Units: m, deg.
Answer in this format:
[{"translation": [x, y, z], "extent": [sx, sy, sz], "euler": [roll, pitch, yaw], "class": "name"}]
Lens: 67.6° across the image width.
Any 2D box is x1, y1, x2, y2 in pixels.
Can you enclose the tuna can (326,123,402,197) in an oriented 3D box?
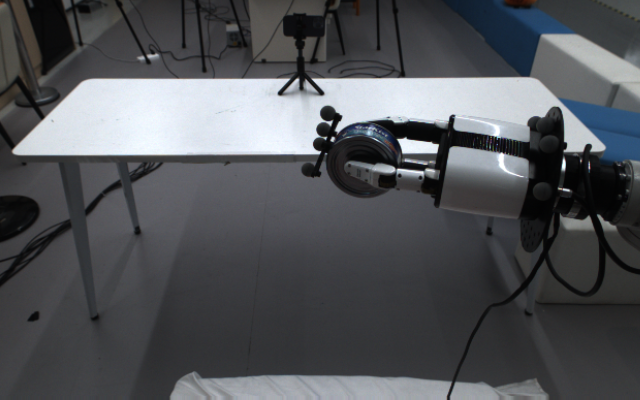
[{"translation": [0.052, -0.047, 0.567], "extent": [0.085, 0.085, 0.034], "euler": [9, 35, 10], "class": "tuna can"}]
